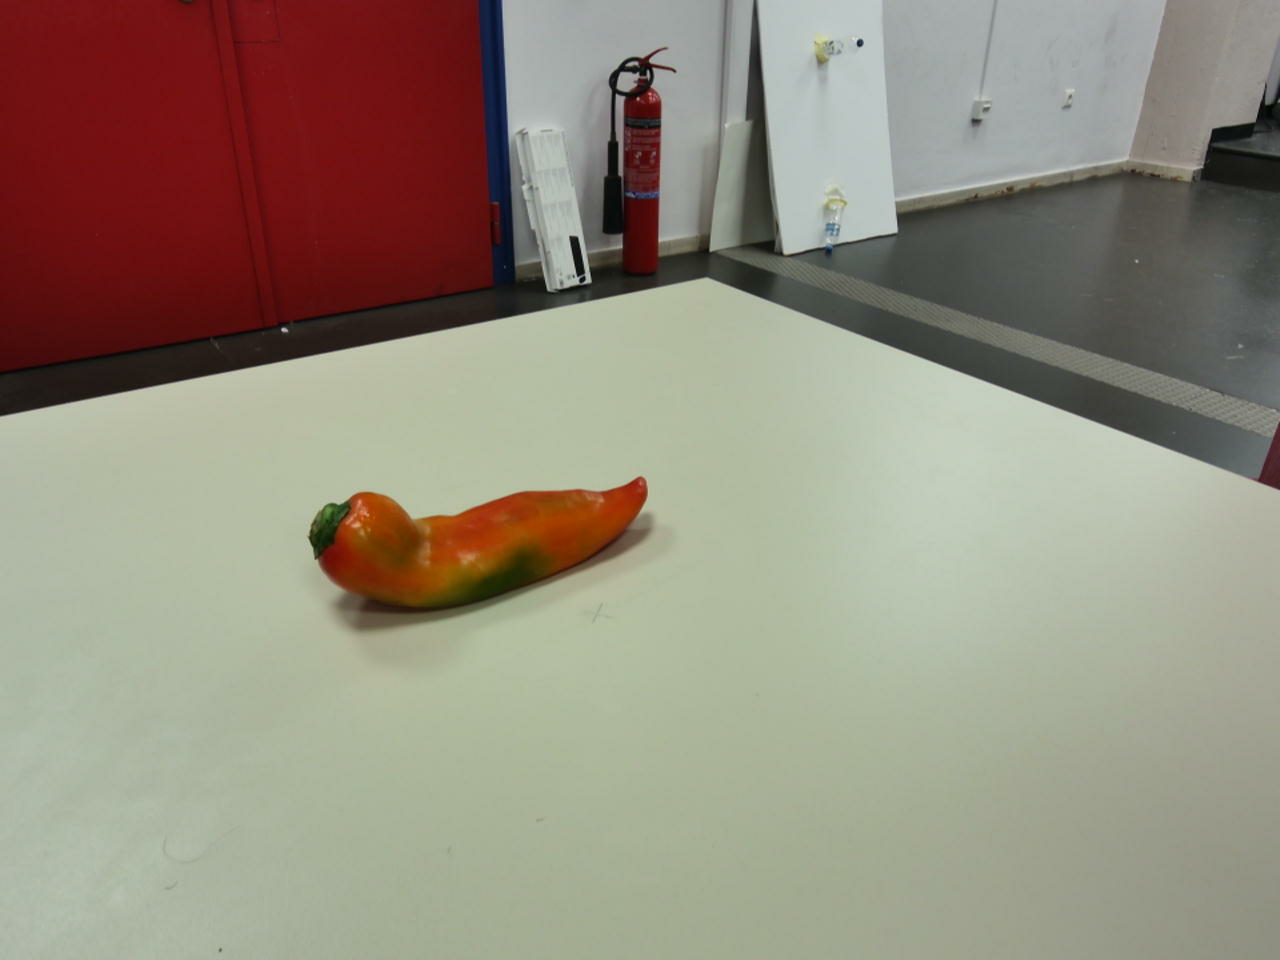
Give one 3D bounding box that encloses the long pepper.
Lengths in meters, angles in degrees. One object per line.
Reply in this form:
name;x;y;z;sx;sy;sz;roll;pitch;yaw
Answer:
long pepper;-0.077;0.021;0.547;0.199;0.065;0.066;-15;30;-28
